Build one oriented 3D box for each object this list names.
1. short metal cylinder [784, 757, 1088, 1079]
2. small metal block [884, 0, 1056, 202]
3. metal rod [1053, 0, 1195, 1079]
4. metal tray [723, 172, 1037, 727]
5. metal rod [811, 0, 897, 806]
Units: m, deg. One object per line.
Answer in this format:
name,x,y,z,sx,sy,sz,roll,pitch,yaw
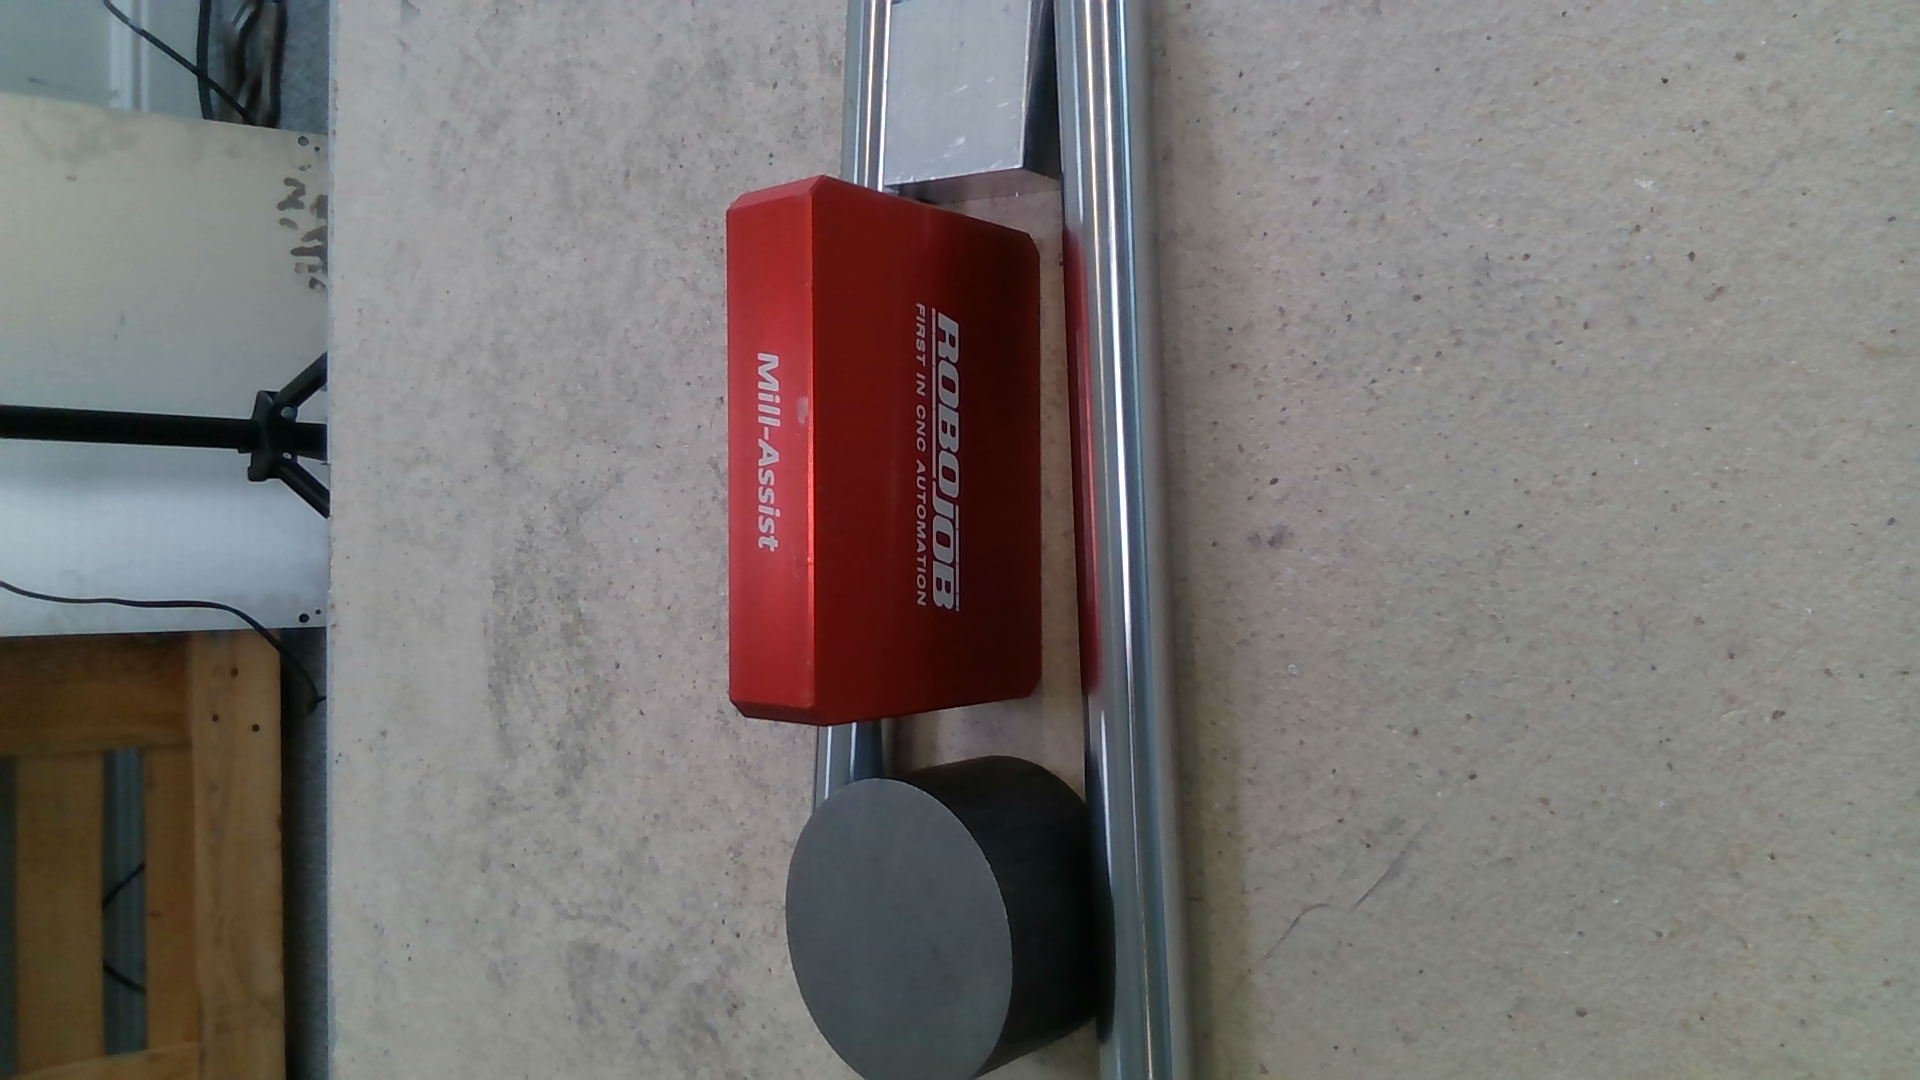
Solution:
short metal cylinder,-0.002,0.102,0.377,0.080,0.050,0.080,0,91,40
small metal block,0.007,-0.124,0.385,0.050,0.025,0.050,6,94,40
metal rod,0.042,-0.006,0.356,0.025,0.025,0.300,-3,88,40
metal tray,-0.018,-0.021,0.362,0.030,0.090,0.130,0,90,40
metal rod,-0.028,-0.010,0.415,0.025,0.025,0.300,6,94,40
